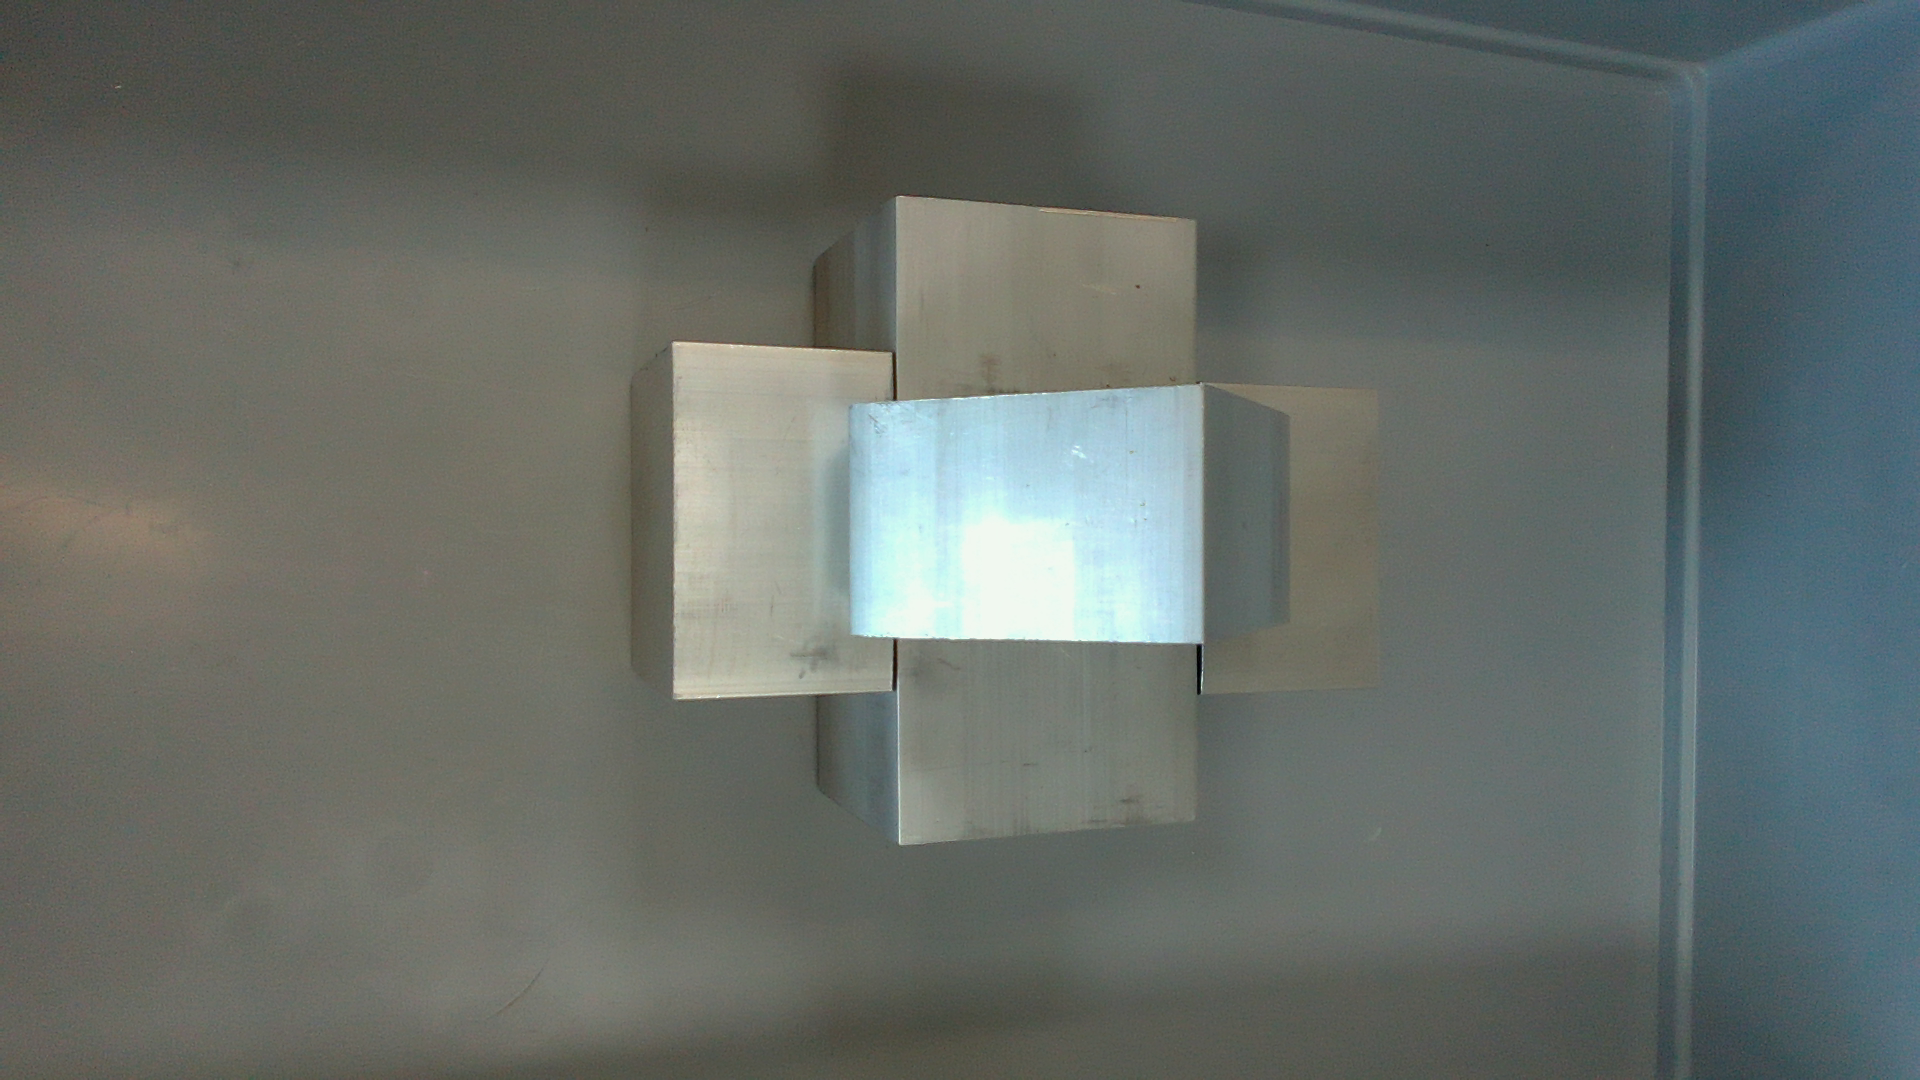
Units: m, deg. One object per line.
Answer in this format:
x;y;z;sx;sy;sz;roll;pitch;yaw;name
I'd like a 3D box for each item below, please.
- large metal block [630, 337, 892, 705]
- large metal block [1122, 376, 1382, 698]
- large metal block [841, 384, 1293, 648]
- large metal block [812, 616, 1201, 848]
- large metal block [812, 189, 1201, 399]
-0.053;-0.004;0.345;0.050;0.080;0.080;0;90;-20;large metal block
0.073;-0.001;0.388;0.050;0.080;0.080;0;90;-20;large metal block
0.028;-0.004;0.314;0.080;0.080;0.050;0;90;-65;large metal block
0.009;0.046;0.367;0.080;0.080;0.050;0;90;-20;large metal block
0.009;-0.056;0.367;0.080;0.080;0.050;0;90;-20;large metal block
